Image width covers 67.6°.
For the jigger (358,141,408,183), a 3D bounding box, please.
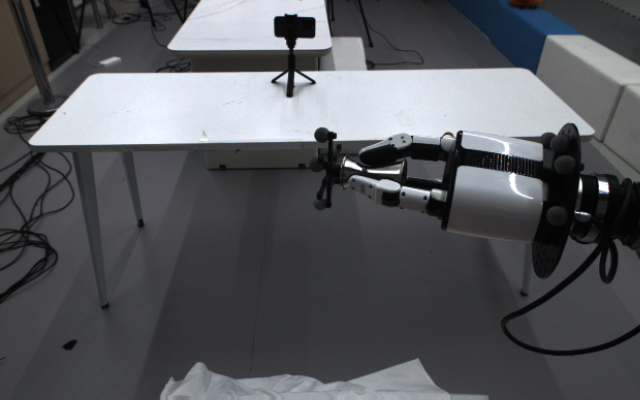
[{"bbox_3d":[0.066,-0.030,0.541,0.071,0.043,0.043,7,35,16],"label":"jigger"}]
